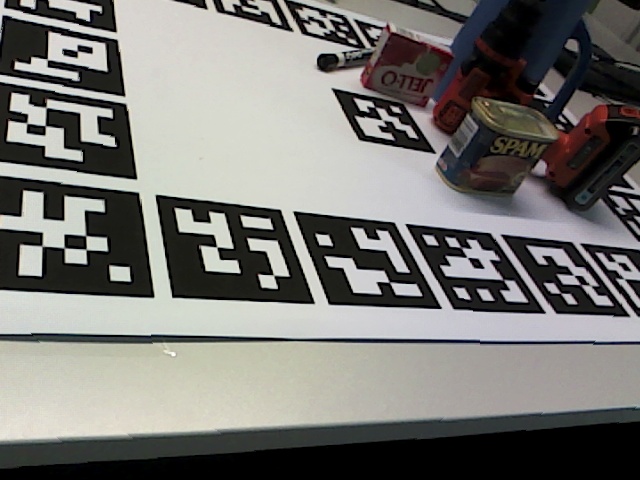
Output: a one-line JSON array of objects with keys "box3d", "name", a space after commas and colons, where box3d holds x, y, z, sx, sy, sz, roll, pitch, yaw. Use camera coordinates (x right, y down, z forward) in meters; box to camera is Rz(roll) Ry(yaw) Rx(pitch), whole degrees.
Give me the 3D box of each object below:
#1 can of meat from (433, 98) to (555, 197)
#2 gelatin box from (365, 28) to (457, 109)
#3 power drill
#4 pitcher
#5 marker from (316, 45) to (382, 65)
[{"box3d": [0.182, -0.096, 0.660, 0.101, 0.084, 0.058, 5, 41, -28], "name": "can of meat"}, {"box3d": [0.111, -0.209, 0.760, 0.089, 0.073, 0.030, 15, 44, -19], "name": "gelatin box"}, {"box3d": [0.242, -0.168, 0.704, 0.187, 0.185, 0.057, 34, 40, -3], "name": "power drill"}, {"box3d": [0.267, -0.253, 0.779, 0.189, 0.242, 0.133, 23, 41, 3], "name": "pitcher"}, {"box3d": [0.040, -0.236, 0.787, 0.120, 0.019, 0.020, -20, 59, -43], "name": "marker"}]
